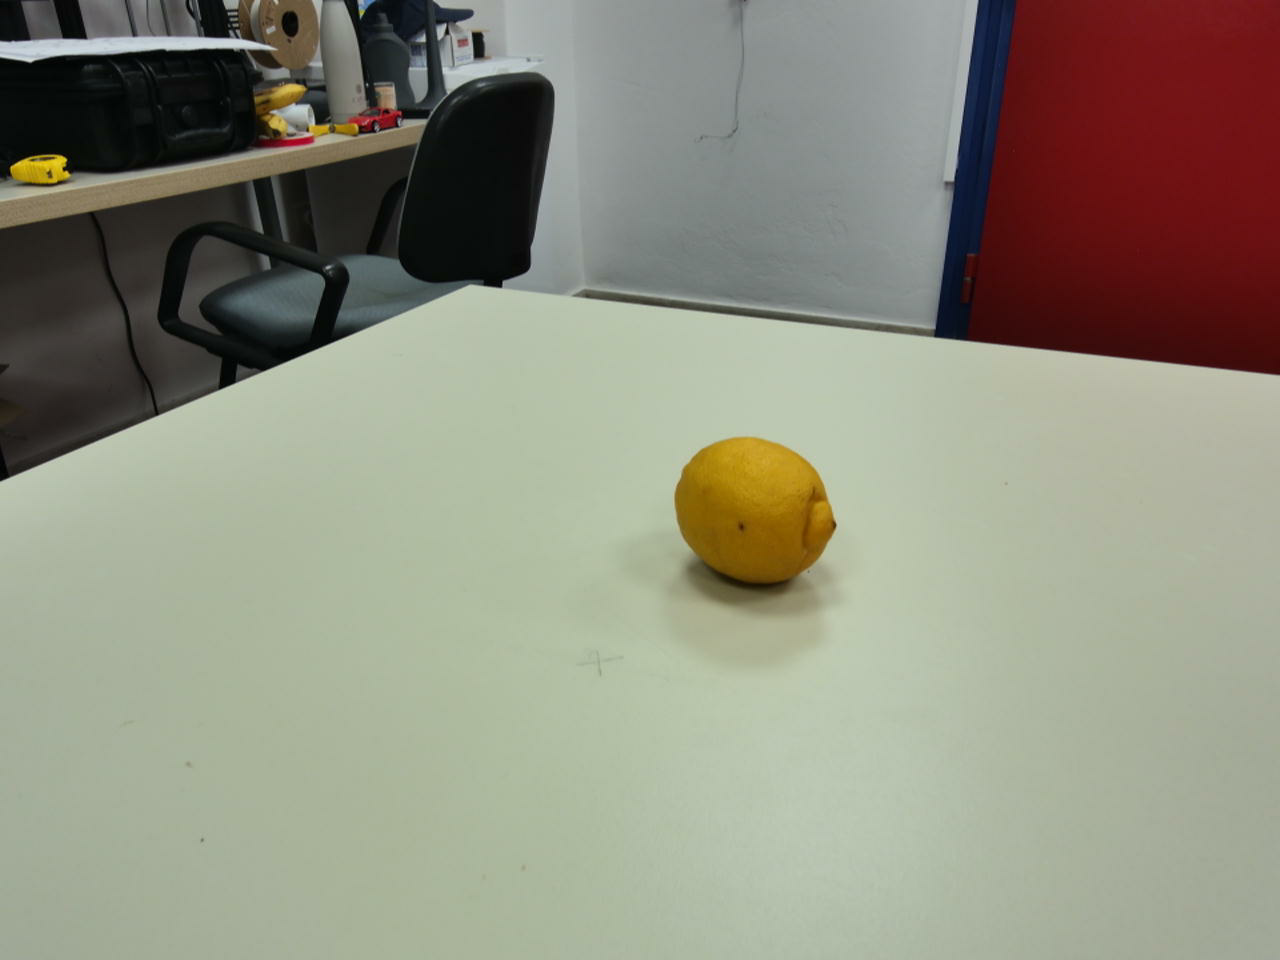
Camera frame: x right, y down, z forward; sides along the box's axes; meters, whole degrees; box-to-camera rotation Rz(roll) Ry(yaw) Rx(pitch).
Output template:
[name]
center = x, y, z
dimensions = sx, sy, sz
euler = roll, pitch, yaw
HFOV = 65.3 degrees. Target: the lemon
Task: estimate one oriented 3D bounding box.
[lemon]
center = 0.047, 0.013, 0.421
dimensions = 0.061, 0.059, 0.067
euler = -9, 25, -20
